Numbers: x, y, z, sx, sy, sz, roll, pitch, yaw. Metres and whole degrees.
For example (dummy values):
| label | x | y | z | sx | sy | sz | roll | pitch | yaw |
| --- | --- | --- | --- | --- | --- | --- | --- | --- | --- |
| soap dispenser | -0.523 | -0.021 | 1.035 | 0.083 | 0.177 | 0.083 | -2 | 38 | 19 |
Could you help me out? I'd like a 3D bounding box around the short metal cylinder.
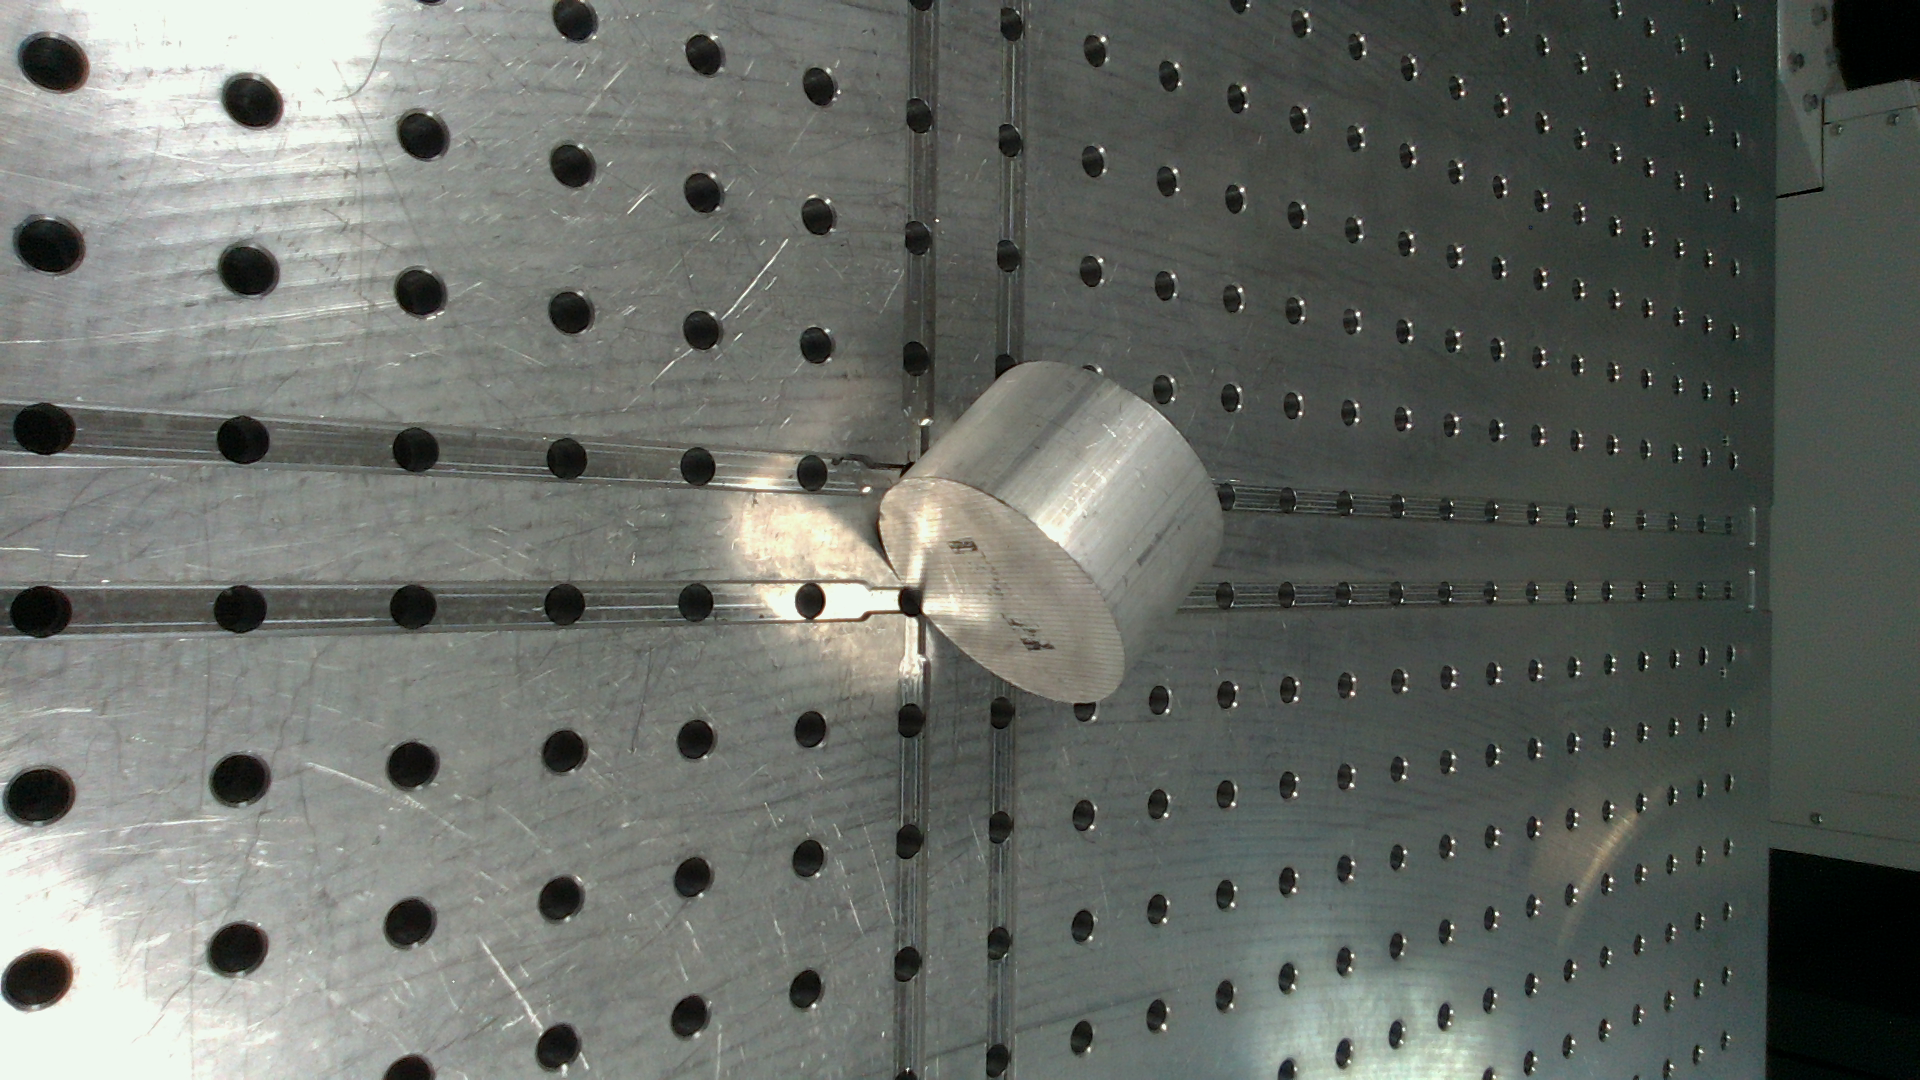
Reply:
| label | x | y | z | sx | sy | sz | roll | pitch | yaw |
| --- | --- | --- | --- | --- | --- | --- | --- | --- | --- |
| short metal cylinder | 0.025 | -0.002 | 0.376 | 0.050 | 0.080 | 0.080 | -48 | 118 | -29 |
